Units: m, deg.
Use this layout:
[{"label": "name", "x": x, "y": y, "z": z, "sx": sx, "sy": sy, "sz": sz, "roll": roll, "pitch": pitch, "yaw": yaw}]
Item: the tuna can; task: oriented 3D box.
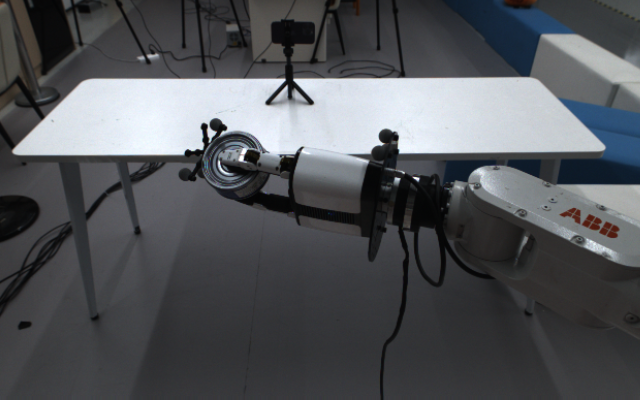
[{"label": "tuna can", "x": -0.108, "y": -0.047, "z": 0.631, "sx": 0.085, "sy": 0.034, "sz": 0.085, "roll": -3, "pitch": 70, "yaw": 9}]
